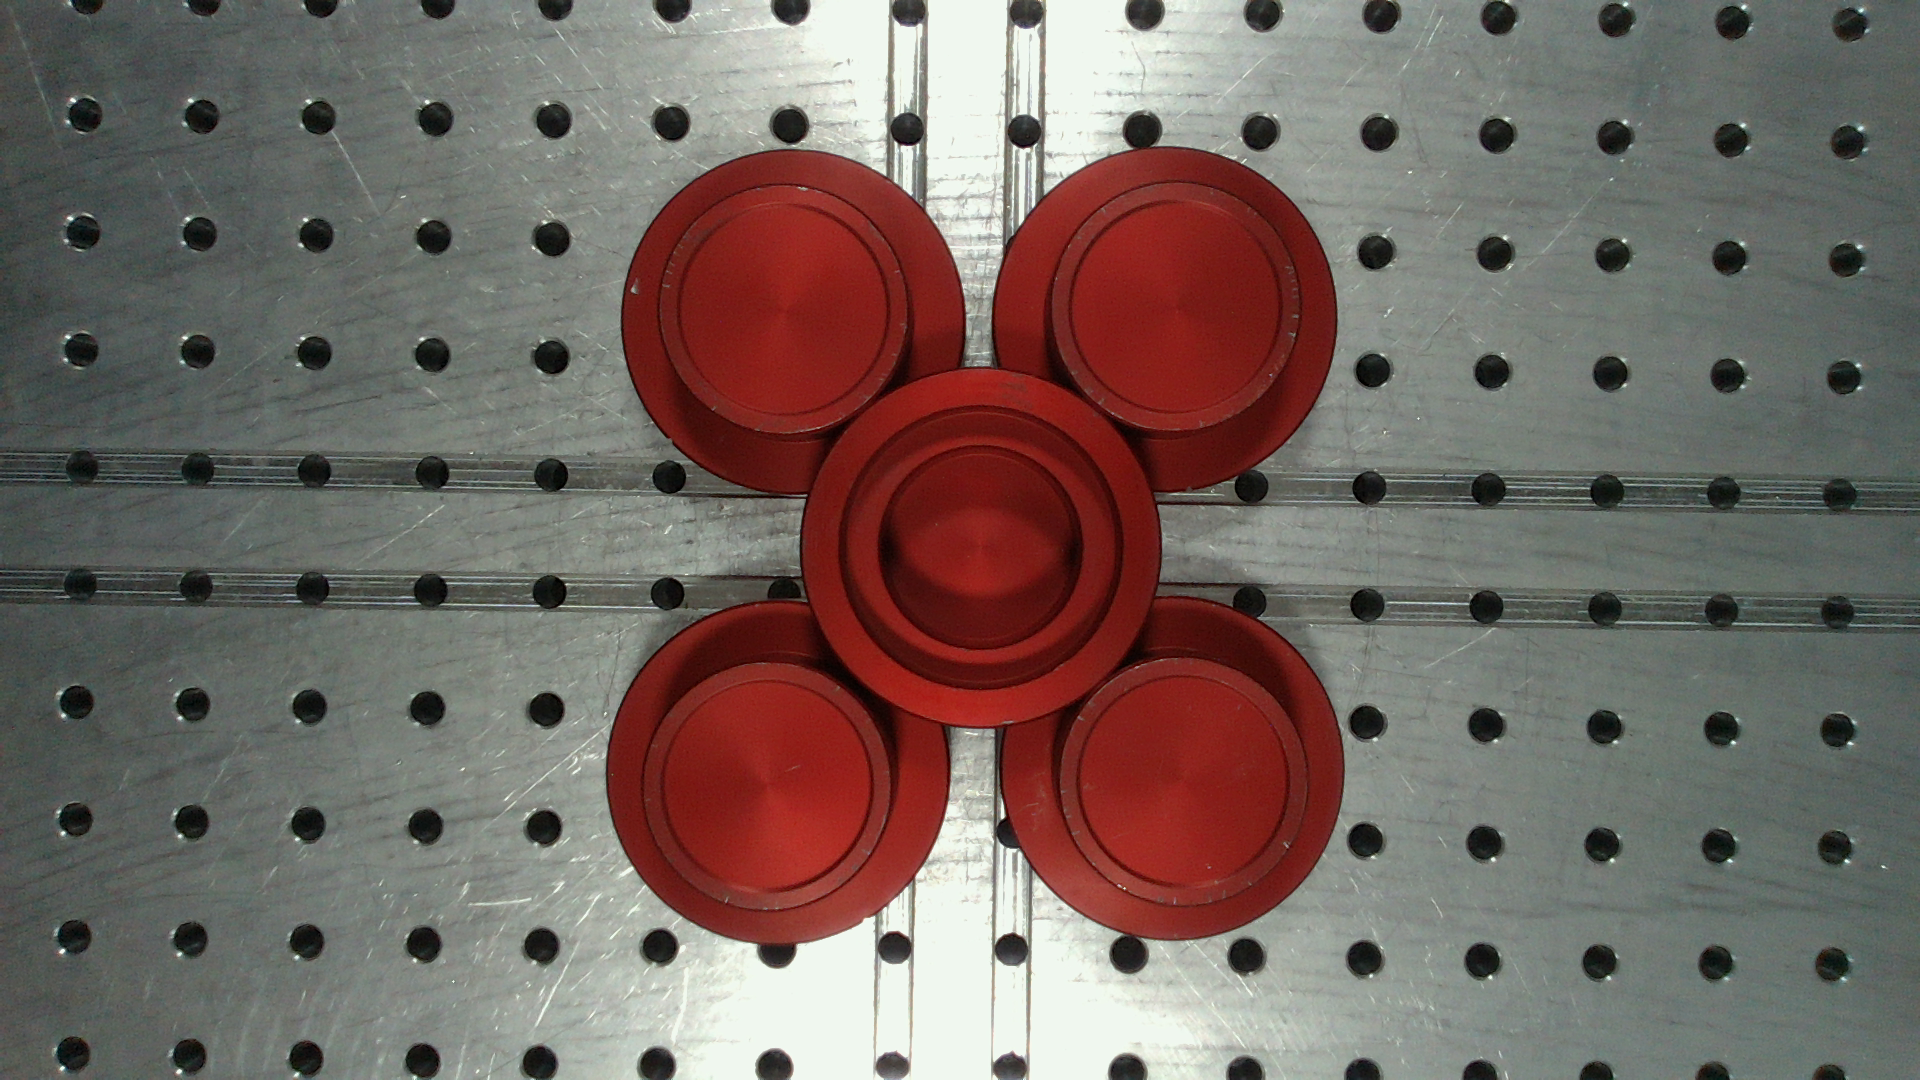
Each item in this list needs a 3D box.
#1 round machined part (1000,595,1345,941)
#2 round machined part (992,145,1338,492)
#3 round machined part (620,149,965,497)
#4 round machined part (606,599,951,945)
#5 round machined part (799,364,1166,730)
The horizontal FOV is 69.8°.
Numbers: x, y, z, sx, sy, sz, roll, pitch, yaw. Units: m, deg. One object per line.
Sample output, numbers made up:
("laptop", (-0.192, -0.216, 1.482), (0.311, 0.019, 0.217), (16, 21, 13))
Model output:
("round machined part", (0.060, 0.065, 0.389), (0.098, 0.042, 0.098), (0, 90, 0))
("round machined part", (0.058, -0.063, 0.389), (0.098, 0.042, 0.098), (0, 90, 0))
("round machined part", (-0.047, -0.062, 0.388), (0.098, 0.042, 0.098), (0, 90, 0))
("round machined part", (-0.052, 0.066, 0.390), (0.098, 0.042, 0.098), (0, 90, 0))
("round machined part", (0.006, 0.002, 0.387), (0.098, 0.042, 0.098), (0, 90, 0))
